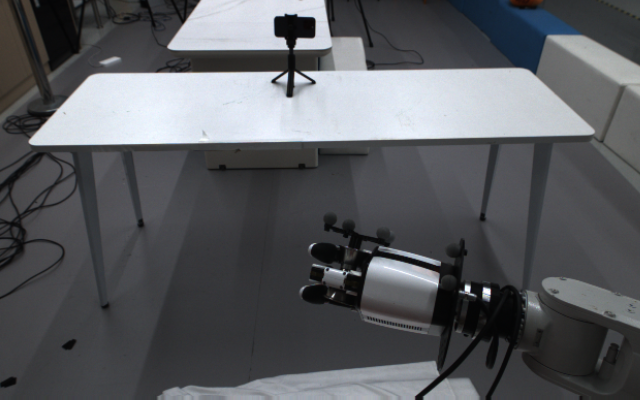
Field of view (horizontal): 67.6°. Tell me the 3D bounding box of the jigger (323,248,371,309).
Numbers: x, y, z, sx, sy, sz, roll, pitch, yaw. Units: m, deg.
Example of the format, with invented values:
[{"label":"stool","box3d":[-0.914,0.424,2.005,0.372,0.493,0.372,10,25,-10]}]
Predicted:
[{"label":"jigger","box3d":[0.037,0.094,0.611,0.043,0.071,0.043,16,-7,2]}]
